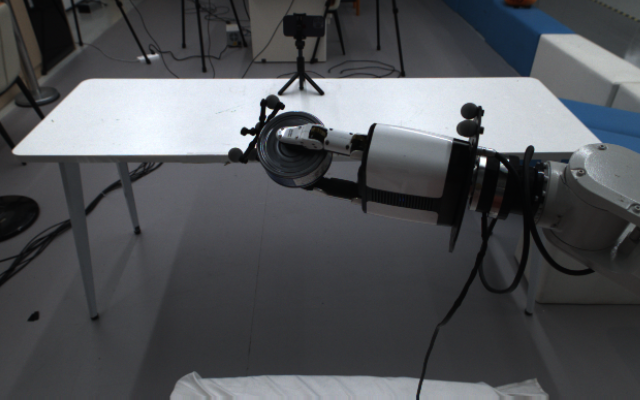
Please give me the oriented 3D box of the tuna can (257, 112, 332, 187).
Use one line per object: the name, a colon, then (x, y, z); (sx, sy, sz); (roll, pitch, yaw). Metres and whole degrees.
tuna can: (-0.025, -0.056, 0.560); (0.085, 0.034, 0.085); (-2, 72, 5)
